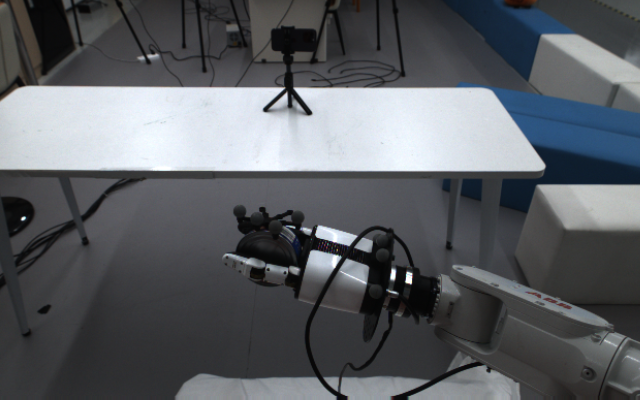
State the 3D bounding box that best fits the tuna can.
[{"bbox_3d":[-0.067,0.073,0.658,0.085,0.085,0.034,9,23,10],"label":"tuna can"}]
